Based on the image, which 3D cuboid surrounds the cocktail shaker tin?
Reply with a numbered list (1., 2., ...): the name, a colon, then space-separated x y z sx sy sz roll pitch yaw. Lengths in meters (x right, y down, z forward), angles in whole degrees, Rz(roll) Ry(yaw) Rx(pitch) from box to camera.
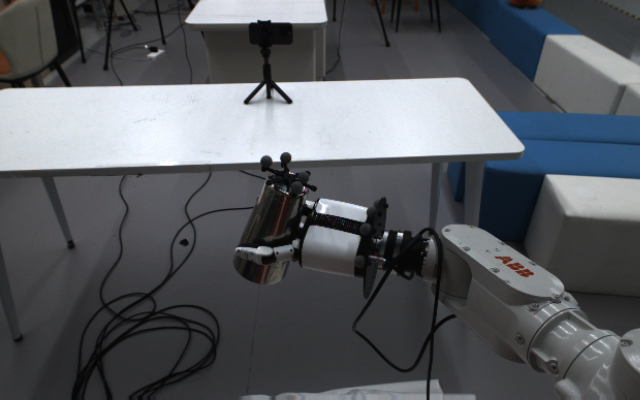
1. cocktail shaker tin: -0.074 0.039 0.764 0.093 0.170 0.093 16 31 -10
